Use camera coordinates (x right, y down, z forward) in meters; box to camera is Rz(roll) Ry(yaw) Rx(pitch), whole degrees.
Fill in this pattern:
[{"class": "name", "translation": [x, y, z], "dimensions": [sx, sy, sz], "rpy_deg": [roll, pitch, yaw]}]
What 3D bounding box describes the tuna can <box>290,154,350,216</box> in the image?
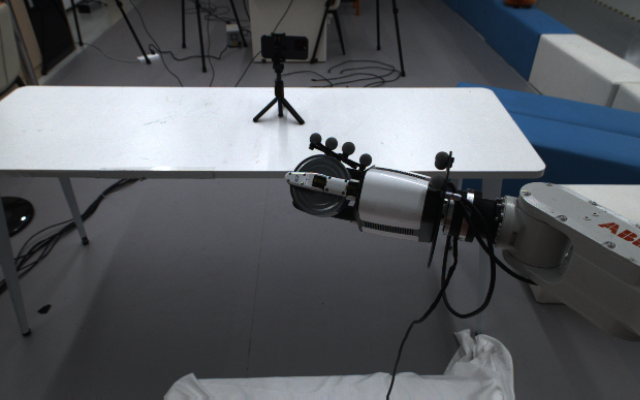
[{"class": "tuna can", "translation": [0.005, -0.020, 0.679], "dimensions": [0.085, 0.085, 0.034], "rpy_deg": [13, -6, 16]}]
